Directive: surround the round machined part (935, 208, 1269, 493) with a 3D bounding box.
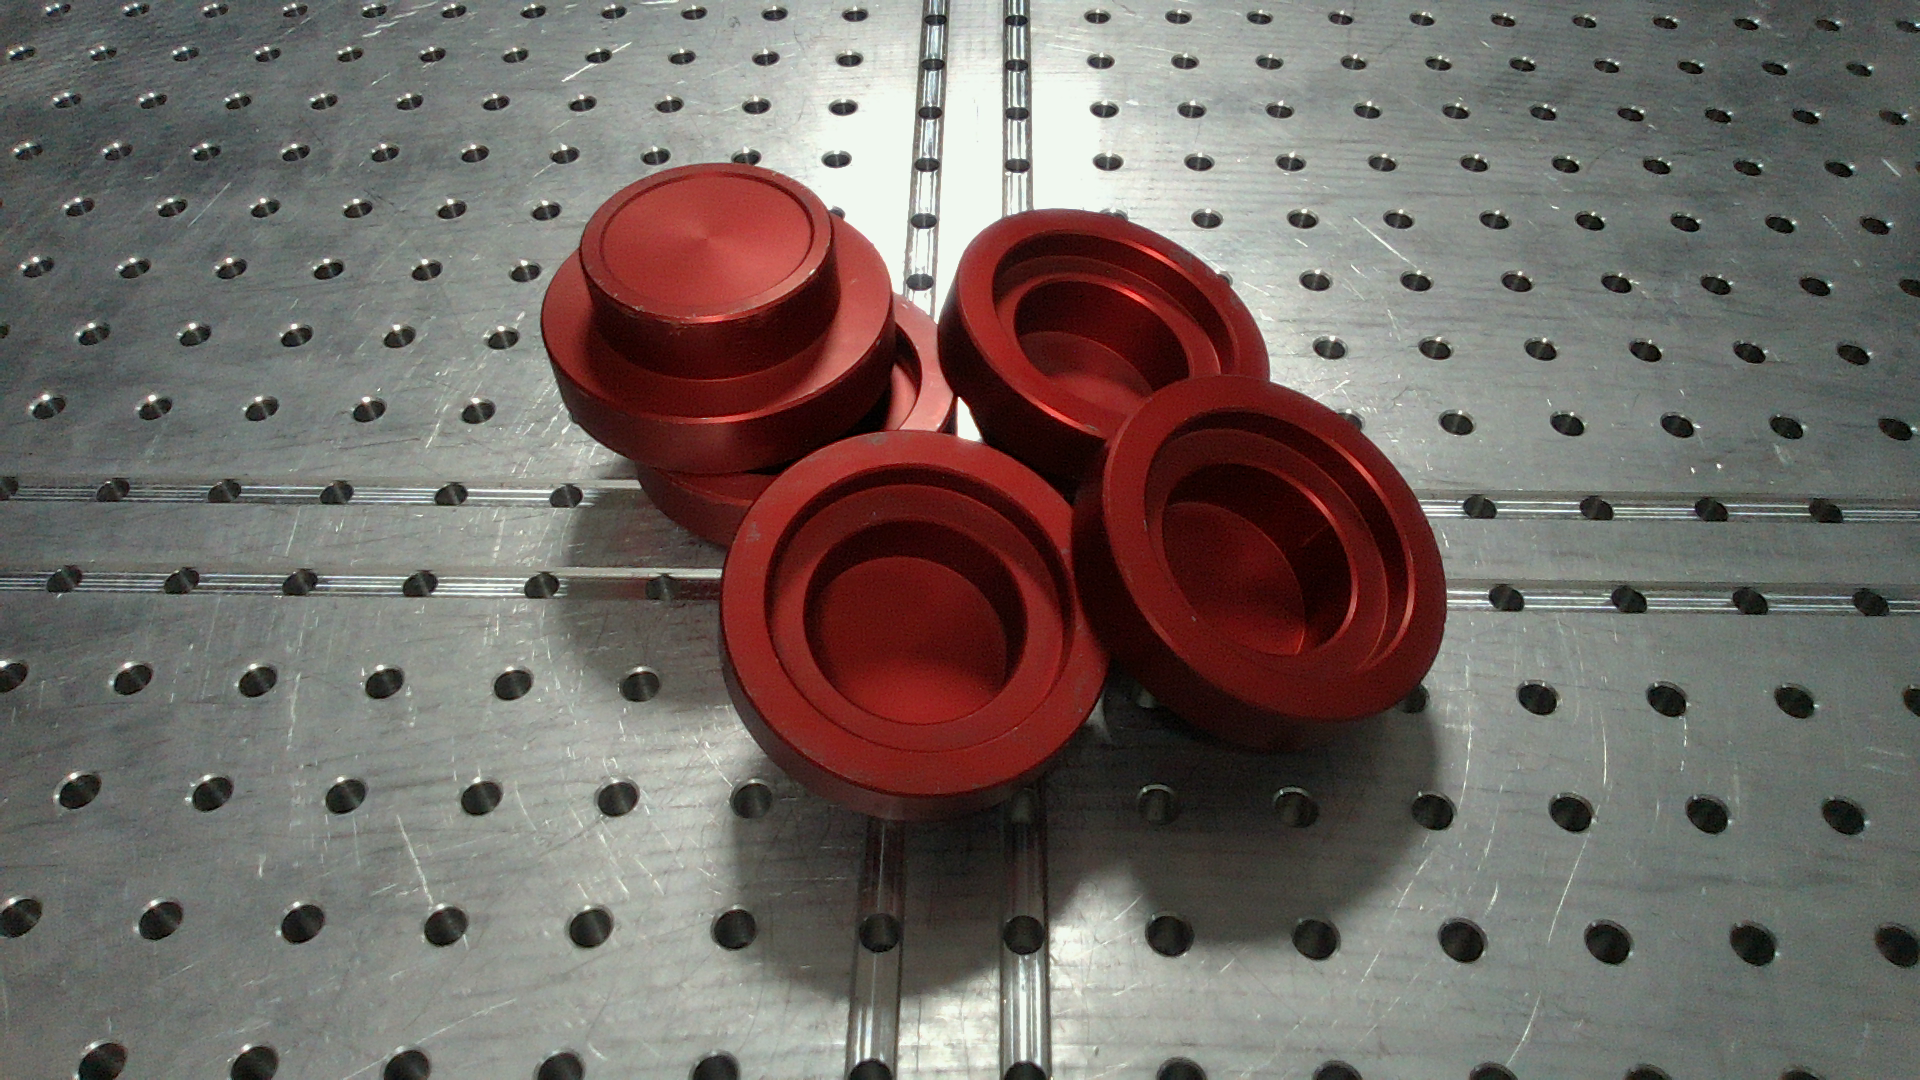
[{"bbox_3d":[0.040,-0.052,0.416,0.098,0.042,0.098,10,50,-12],"label":"round machined part"}]

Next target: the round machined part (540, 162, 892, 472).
[{"bbox_3d":[-0.068,-0.069,0.386,0.098,0.042,0.098,0,50,0],"label":"round machined part"}]

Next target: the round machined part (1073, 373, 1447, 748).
[{"bbox_3d":[0.074,0.008,0.361,0.098,0.042,0.098,11,59,-18],"label":"round machined part"}]

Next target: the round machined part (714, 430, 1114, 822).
[{"bbox_3d":[-0.013,0.024,0.351,0.098,0.042,0.098,4,64,-9],"label":"round machined part"}]

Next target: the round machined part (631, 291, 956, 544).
[{"bbox_3d":[-0.049,-0.034,0.411,0.098,0.042,0.098,0,50,0],"label":"round machined part"}]
